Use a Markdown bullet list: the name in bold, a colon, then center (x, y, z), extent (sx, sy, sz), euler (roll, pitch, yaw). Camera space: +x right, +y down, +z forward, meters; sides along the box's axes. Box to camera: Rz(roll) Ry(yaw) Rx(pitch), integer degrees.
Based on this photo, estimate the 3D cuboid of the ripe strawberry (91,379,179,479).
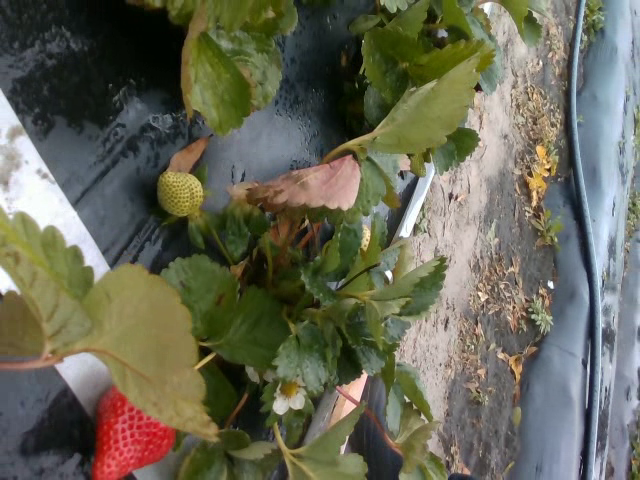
- **ripe strawberry**: center (-0.080, 0.080, 0.248), extent (0.037, 0.042, 0.051), euler (22, 28, 5)
